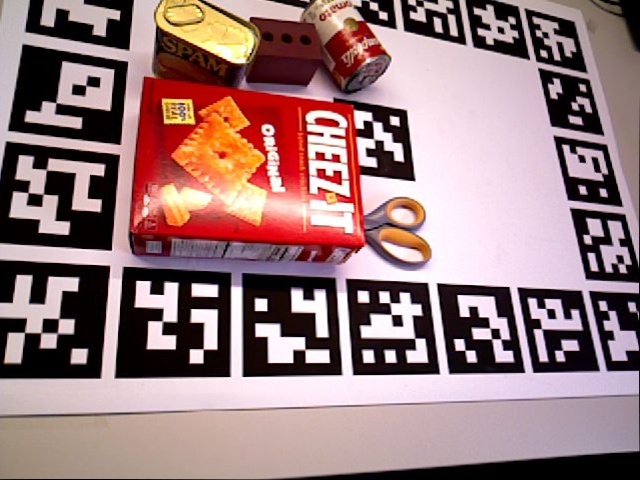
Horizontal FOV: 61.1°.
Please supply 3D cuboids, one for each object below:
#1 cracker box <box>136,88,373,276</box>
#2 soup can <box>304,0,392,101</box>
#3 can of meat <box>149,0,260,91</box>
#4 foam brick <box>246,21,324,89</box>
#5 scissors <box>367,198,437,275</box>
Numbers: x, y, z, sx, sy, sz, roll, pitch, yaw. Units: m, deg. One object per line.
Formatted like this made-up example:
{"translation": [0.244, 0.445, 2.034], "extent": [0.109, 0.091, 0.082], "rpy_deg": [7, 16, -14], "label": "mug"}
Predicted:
{"translation": [-0.066, -0.057, 0.529], "extent": [0.211, 0.073, 0.163], "rpy_deg": [-2, 72, -17], "label": "cracker box"}
{"translation": [0.033, -0.228, 0.651], "extent": [0.066, 0.069, 0.102], "rpy_deg": [-36, 82, -27], "label": "soup can"}
{"translation": [-0.123, -0.191, 0.560], "extent": [0.101, 0.085, 0.057], "rpy_deg": [18, 67, -15], "label": "can of meat"}
{"translation": [-0.042, -0.208, 0.617], "extent": [0.077, 0.052, 0.052], "rpy_deg": [-6, 75, -23], "label": "foam brick"}
{"translation": [0.032, -0.004, 0.584], "extent": [0.200, 0.016, 0.087], "rpy_deg": [0, 74, -20], "label": "scissors"}
